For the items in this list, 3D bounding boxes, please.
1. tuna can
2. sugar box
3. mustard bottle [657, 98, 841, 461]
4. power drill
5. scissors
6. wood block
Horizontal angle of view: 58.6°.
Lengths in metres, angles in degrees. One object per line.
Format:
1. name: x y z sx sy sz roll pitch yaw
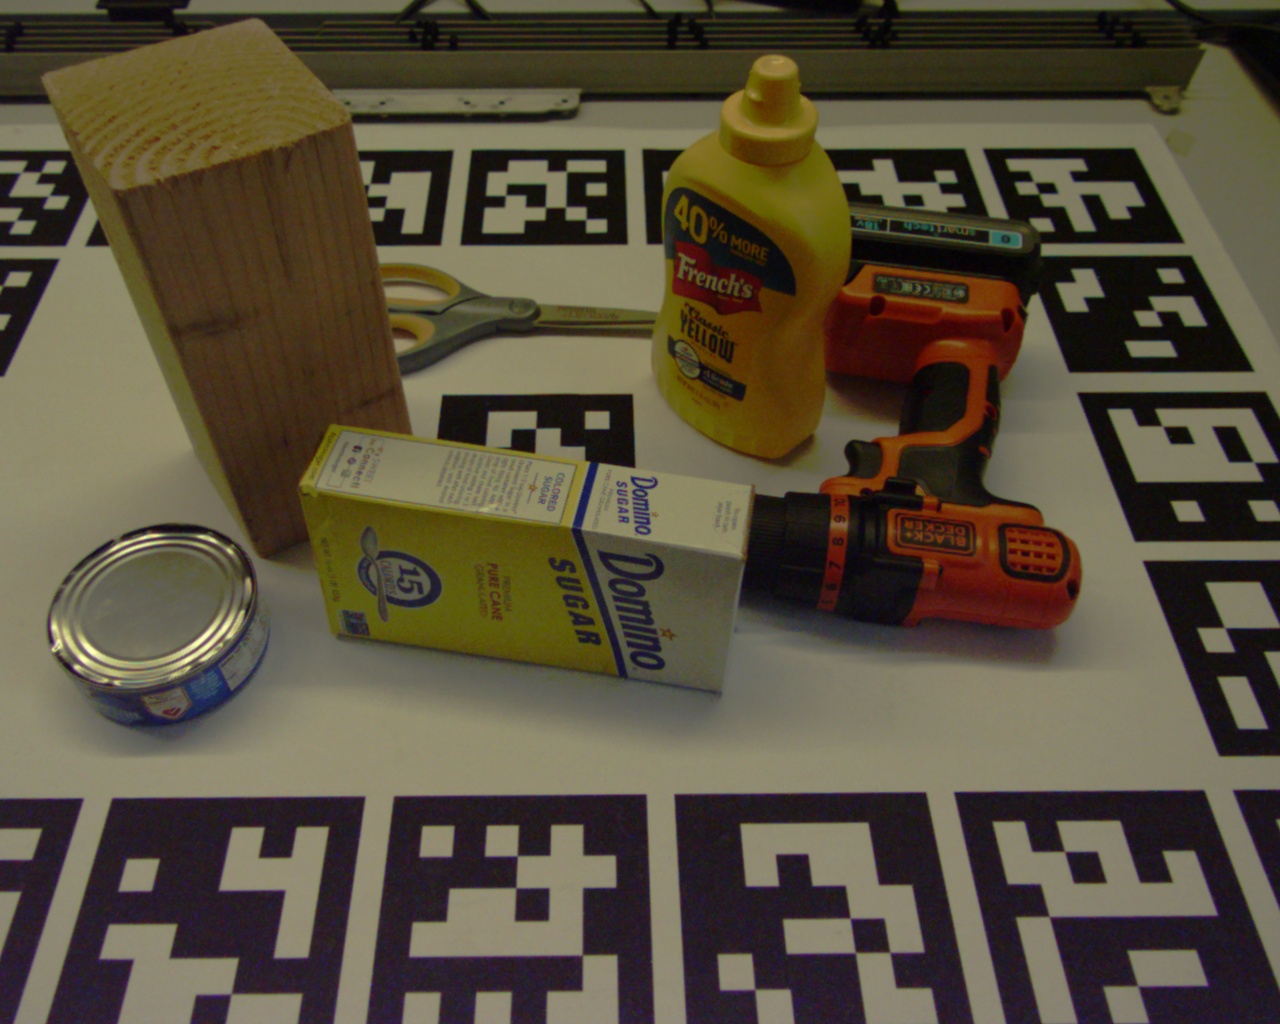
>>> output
1. tuna can: -0.207 0.041 0.523 0.086 0.033 0.086 0 53 -1
2. sugar box: -0.041 0.020 0.510 0.177 0.092 0.045 11 50 5
3. mustard bottle: 0.053 -0.115 0.561 0.058 0.191 0.097 -35 62 -24
4. power drill: 0.100 -0.039 0.576 0.185 0.057 0.187 10 60 8
5. scissors: -0.089 -0.117 0.660 0.203 0.016 0.088 2 49 1
6. wood block: -0.166 -0.089 0.532 0.090 0.205 0.091 -24 58 -18
